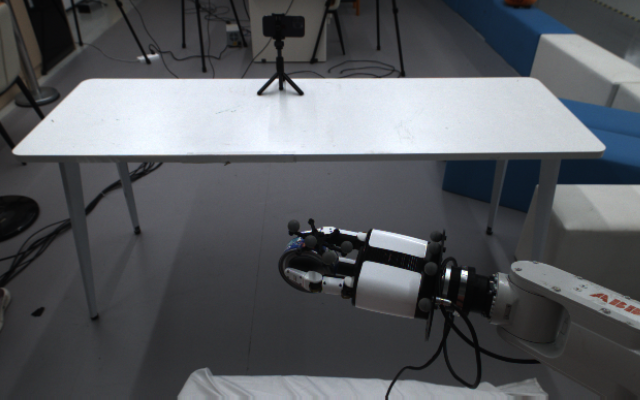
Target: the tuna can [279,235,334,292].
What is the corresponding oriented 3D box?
[{"bbox_3d":[-0.014,0.095,0.712,0.085,0.085,0.034,9,35,10],"label":"tuna can"}]
